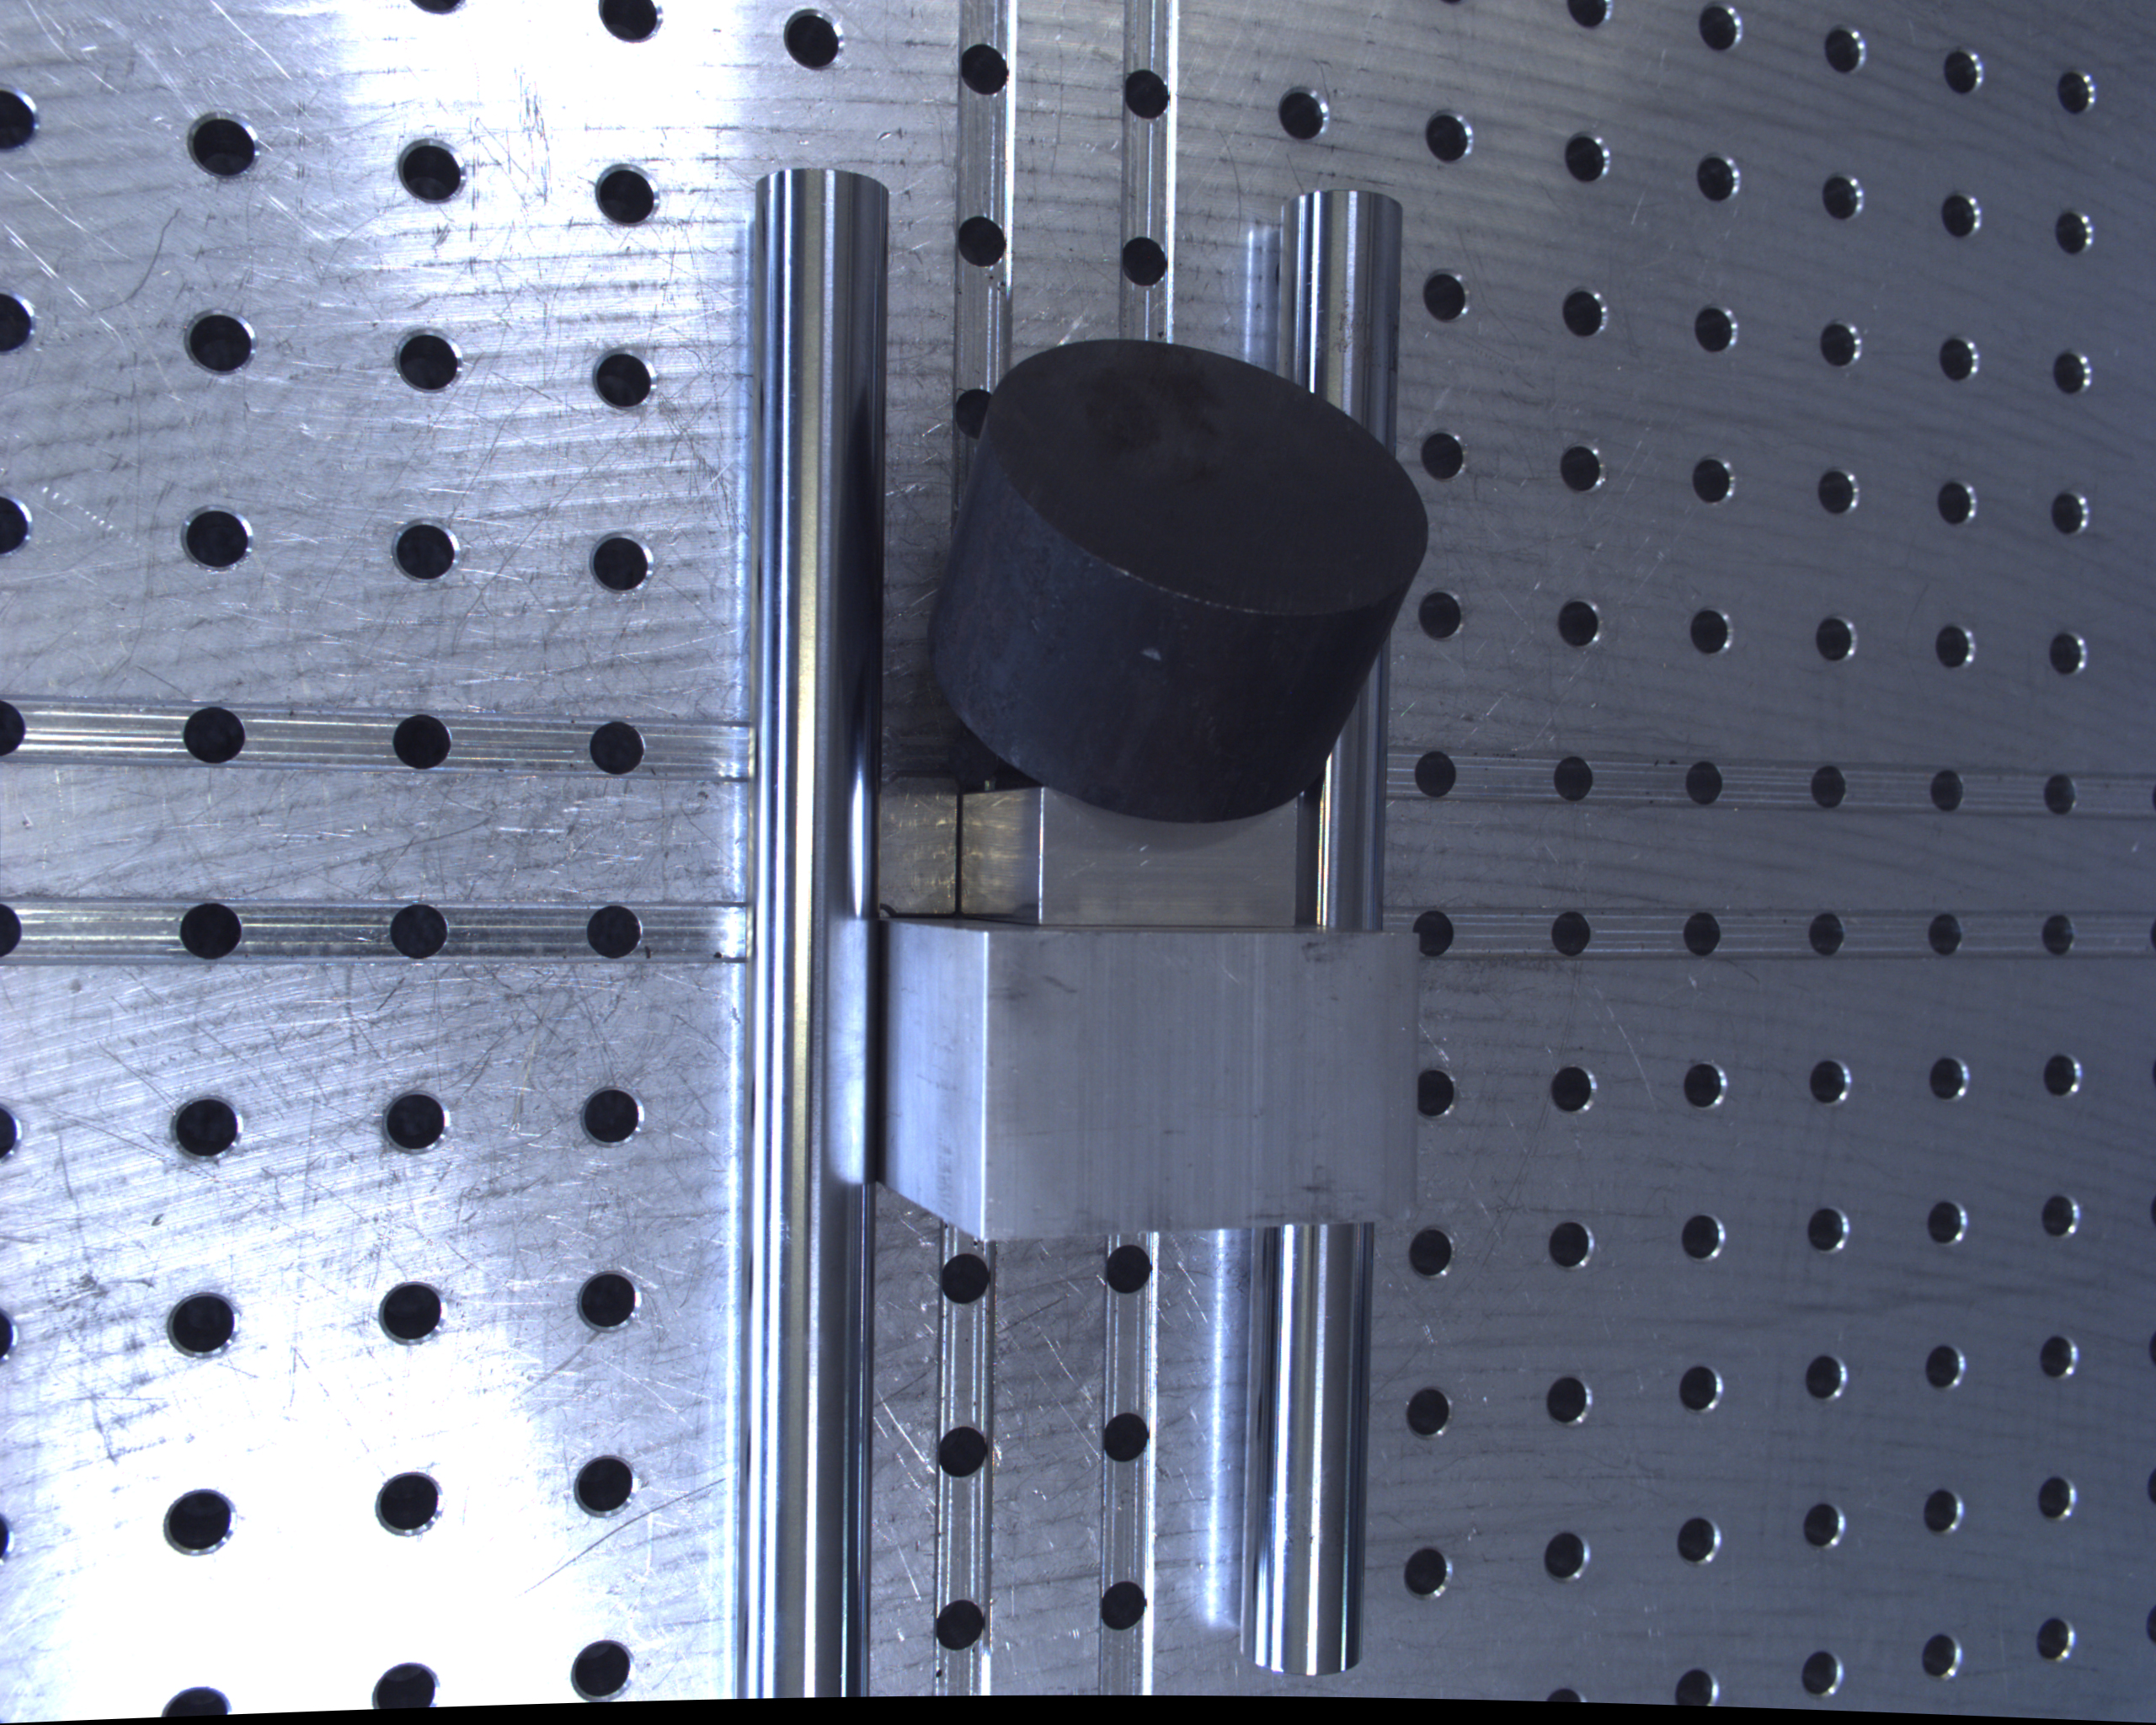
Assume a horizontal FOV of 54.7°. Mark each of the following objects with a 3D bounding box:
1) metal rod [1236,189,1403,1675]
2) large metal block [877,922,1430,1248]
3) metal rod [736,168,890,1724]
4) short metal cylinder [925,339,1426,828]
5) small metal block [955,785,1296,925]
[{"bbox_3d":[0.050,0.013,0.431,0.025,0.025,0.298,2,89,-20],"label":"metal rod"},{"bbox_3d":[0.009,0.037,0.384,0.081,0.080,0.050,1,90,-20],"label":"large metal block"},{"bbox_3d":[-0.050,0.022,0.394,0.025,0.025,0.298,1,90,-20],"label":"metal rod"},{"bbox_3d":[0.017,-0.052,0.382,0.081,0.050,0.080,11,43,-10],"label":"short metal cylinder"},{"bbox_3d":[0.008,-0.001,0.402,0.050,0.050,0.025,1,90,-21],"label":"small metal block"}]
